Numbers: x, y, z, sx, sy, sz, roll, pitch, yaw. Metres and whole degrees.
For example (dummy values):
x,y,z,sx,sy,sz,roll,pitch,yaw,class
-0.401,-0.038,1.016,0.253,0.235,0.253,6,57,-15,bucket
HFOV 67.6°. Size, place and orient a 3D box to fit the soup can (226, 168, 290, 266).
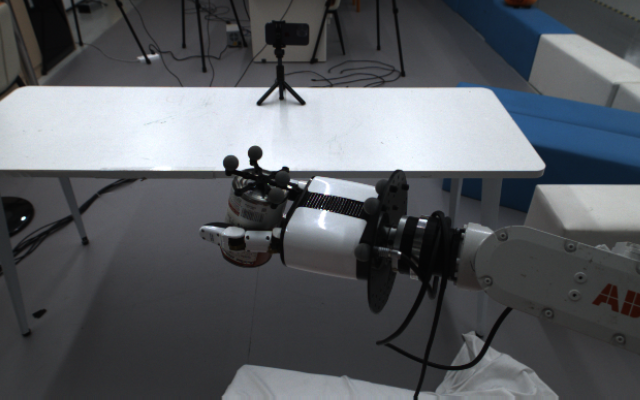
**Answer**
x,y,z,sx,sy,sz,roll,pitch,yaw,class
-0.078,0.022,0.578,0.067,0.101,0.067,13,35,-9,soup can
